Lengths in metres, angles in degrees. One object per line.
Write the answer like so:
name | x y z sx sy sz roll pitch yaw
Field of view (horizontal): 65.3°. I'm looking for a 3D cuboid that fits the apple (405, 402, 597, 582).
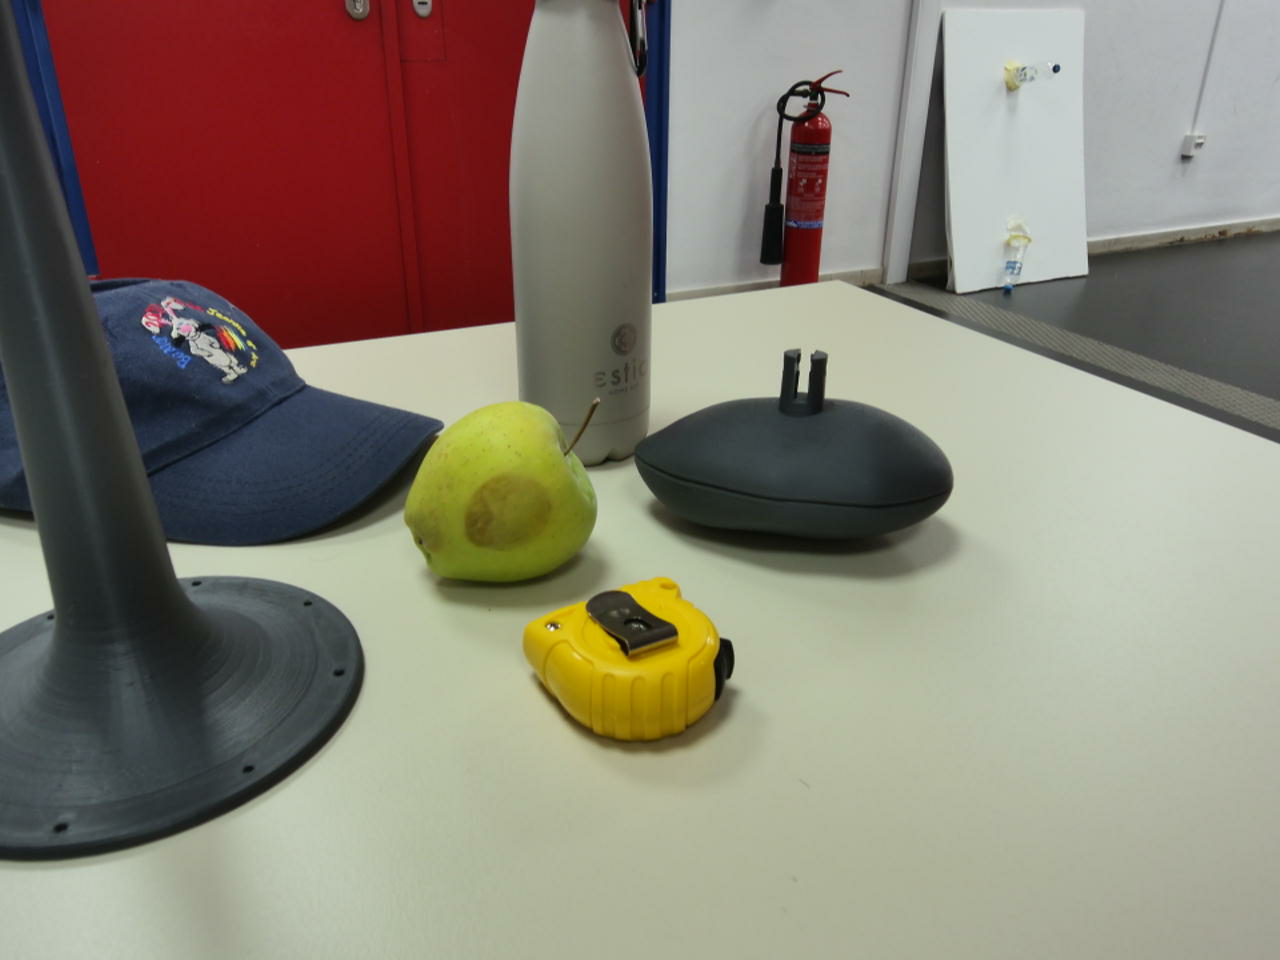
apple | -0.057 0.005 0.422 0.077 0.075 0.072 9 25 16
